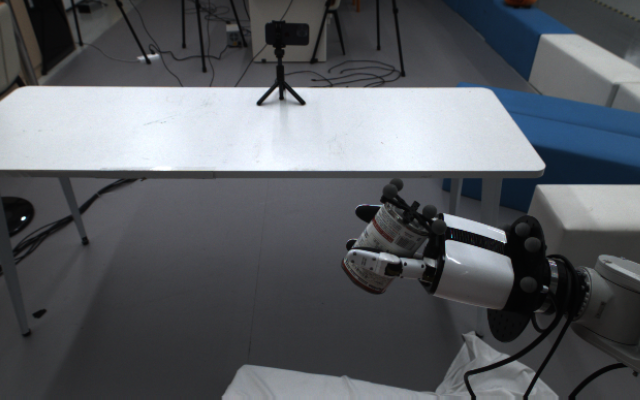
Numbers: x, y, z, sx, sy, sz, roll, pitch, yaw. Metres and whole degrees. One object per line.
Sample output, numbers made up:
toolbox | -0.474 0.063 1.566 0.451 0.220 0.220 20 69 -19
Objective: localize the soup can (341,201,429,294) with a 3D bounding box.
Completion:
soup can | 0.083 0.057 0.601 0.067 0.101 0.067 28 22 -12
